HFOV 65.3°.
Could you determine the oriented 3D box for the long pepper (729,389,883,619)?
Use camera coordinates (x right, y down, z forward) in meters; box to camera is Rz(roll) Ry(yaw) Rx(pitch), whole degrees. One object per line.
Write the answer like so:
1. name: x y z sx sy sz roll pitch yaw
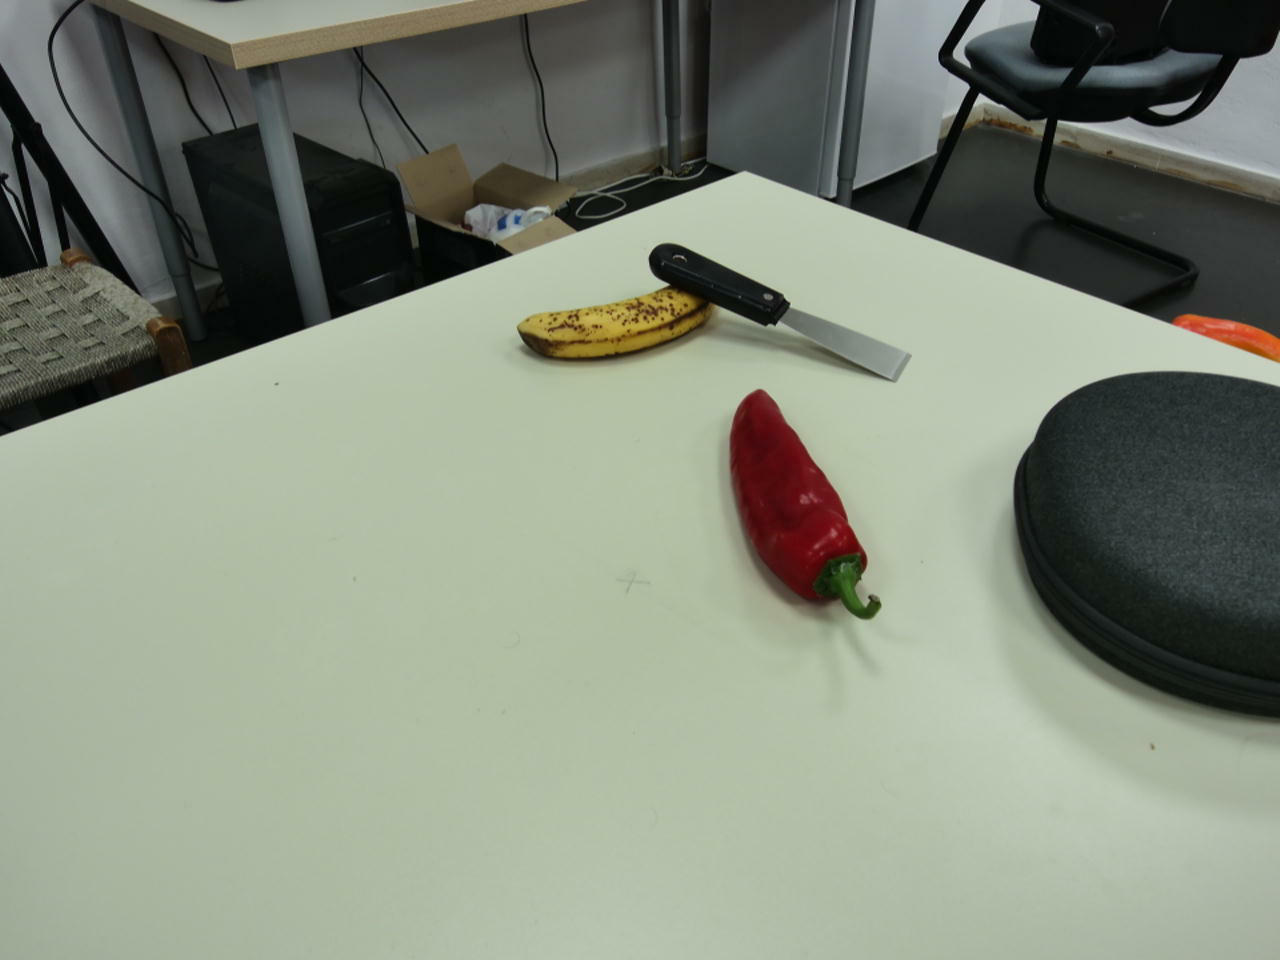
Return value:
1. long pepper: 0.079 0.008 0.531 0.050 0.043 0.211 -5 36 -6
